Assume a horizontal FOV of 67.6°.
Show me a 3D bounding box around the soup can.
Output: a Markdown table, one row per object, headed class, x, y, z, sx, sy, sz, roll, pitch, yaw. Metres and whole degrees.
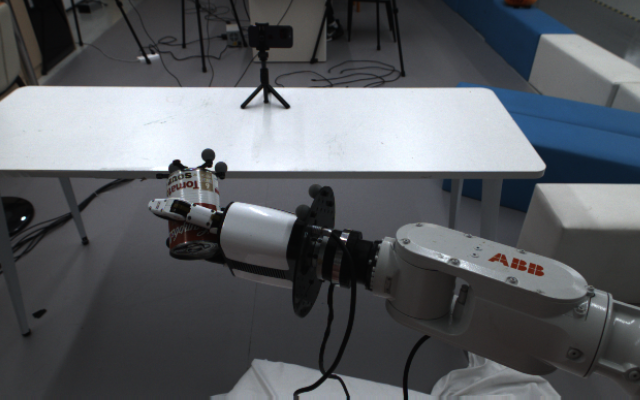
| class | x | y | z | sx | sy | sz | roll | pitch | yaw |
| --- | --- | --- | --- | --- | --- | --- | --- | --- | --- |
| soup can | -0.158 | 0.020 | 0.619 | 0.067 | 0.067 | 0.101 | -6 | 67 | -12 |
